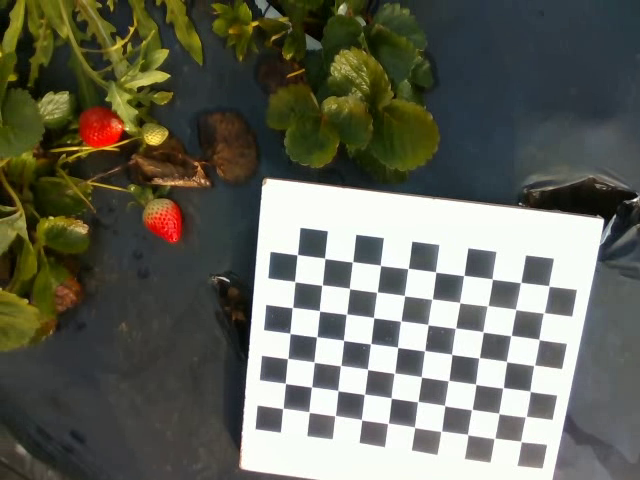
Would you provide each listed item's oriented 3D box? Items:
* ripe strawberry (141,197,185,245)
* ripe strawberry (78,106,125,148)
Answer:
[{"bbox_3d":[-0.134,-0.016,0.580,0.035,0.043,0.030,-30,5,9],"label":"ripe strawberry"},{"bbox_3d":[-0.179,-0.093,0.563,0.031,0.040,0.048,-18,15,-41],"label":"ripe strawberry"}]
